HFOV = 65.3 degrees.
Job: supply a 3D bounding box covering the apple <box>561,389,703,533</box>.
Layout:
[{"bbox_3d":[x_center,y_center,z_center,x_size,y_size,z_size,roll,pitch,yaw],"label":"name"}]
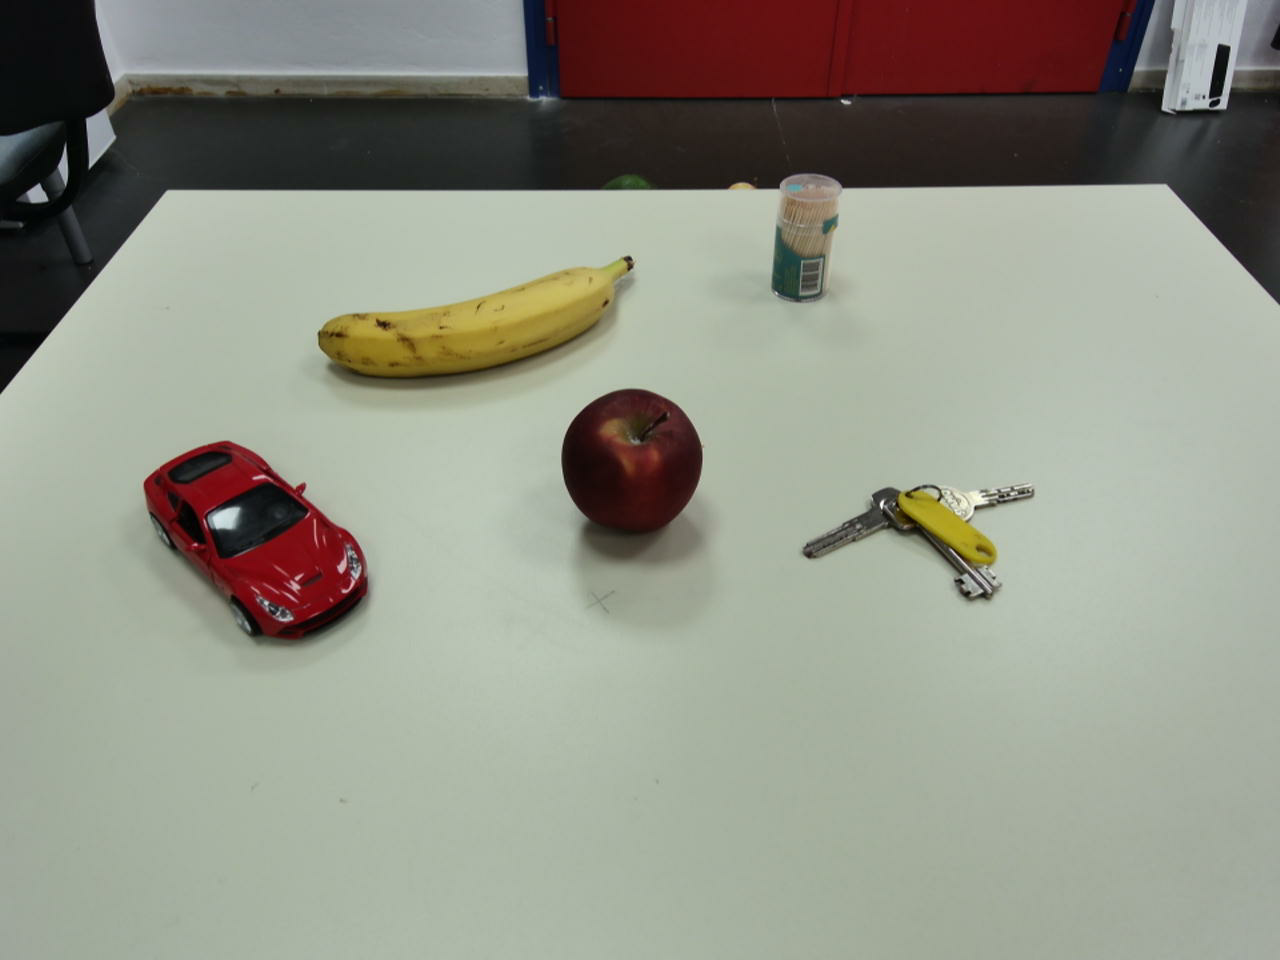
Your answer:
[{"bbox_3d":[-0.003,-0.008,0.488,0.070,0.072,0.070,0,39,0],"label":"apple"}]
